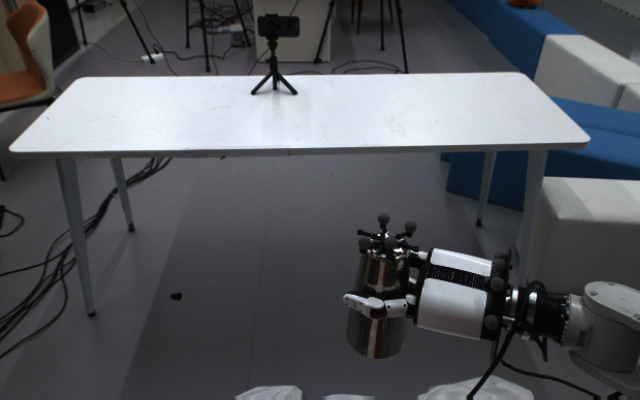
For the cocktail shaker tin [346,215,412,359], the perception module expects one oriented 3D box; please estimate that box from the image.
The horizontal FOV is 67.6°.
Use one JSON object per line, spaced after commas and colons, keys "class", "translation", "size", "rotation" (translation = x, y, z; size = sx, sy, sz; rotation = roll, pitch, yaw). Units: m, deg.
{"class": "cocktail shaker tin", "translation": [0.091, 0.135, 0.707], "size": [0.093, 0.170, 0.093], "rotation": [2, 30, -1]}
